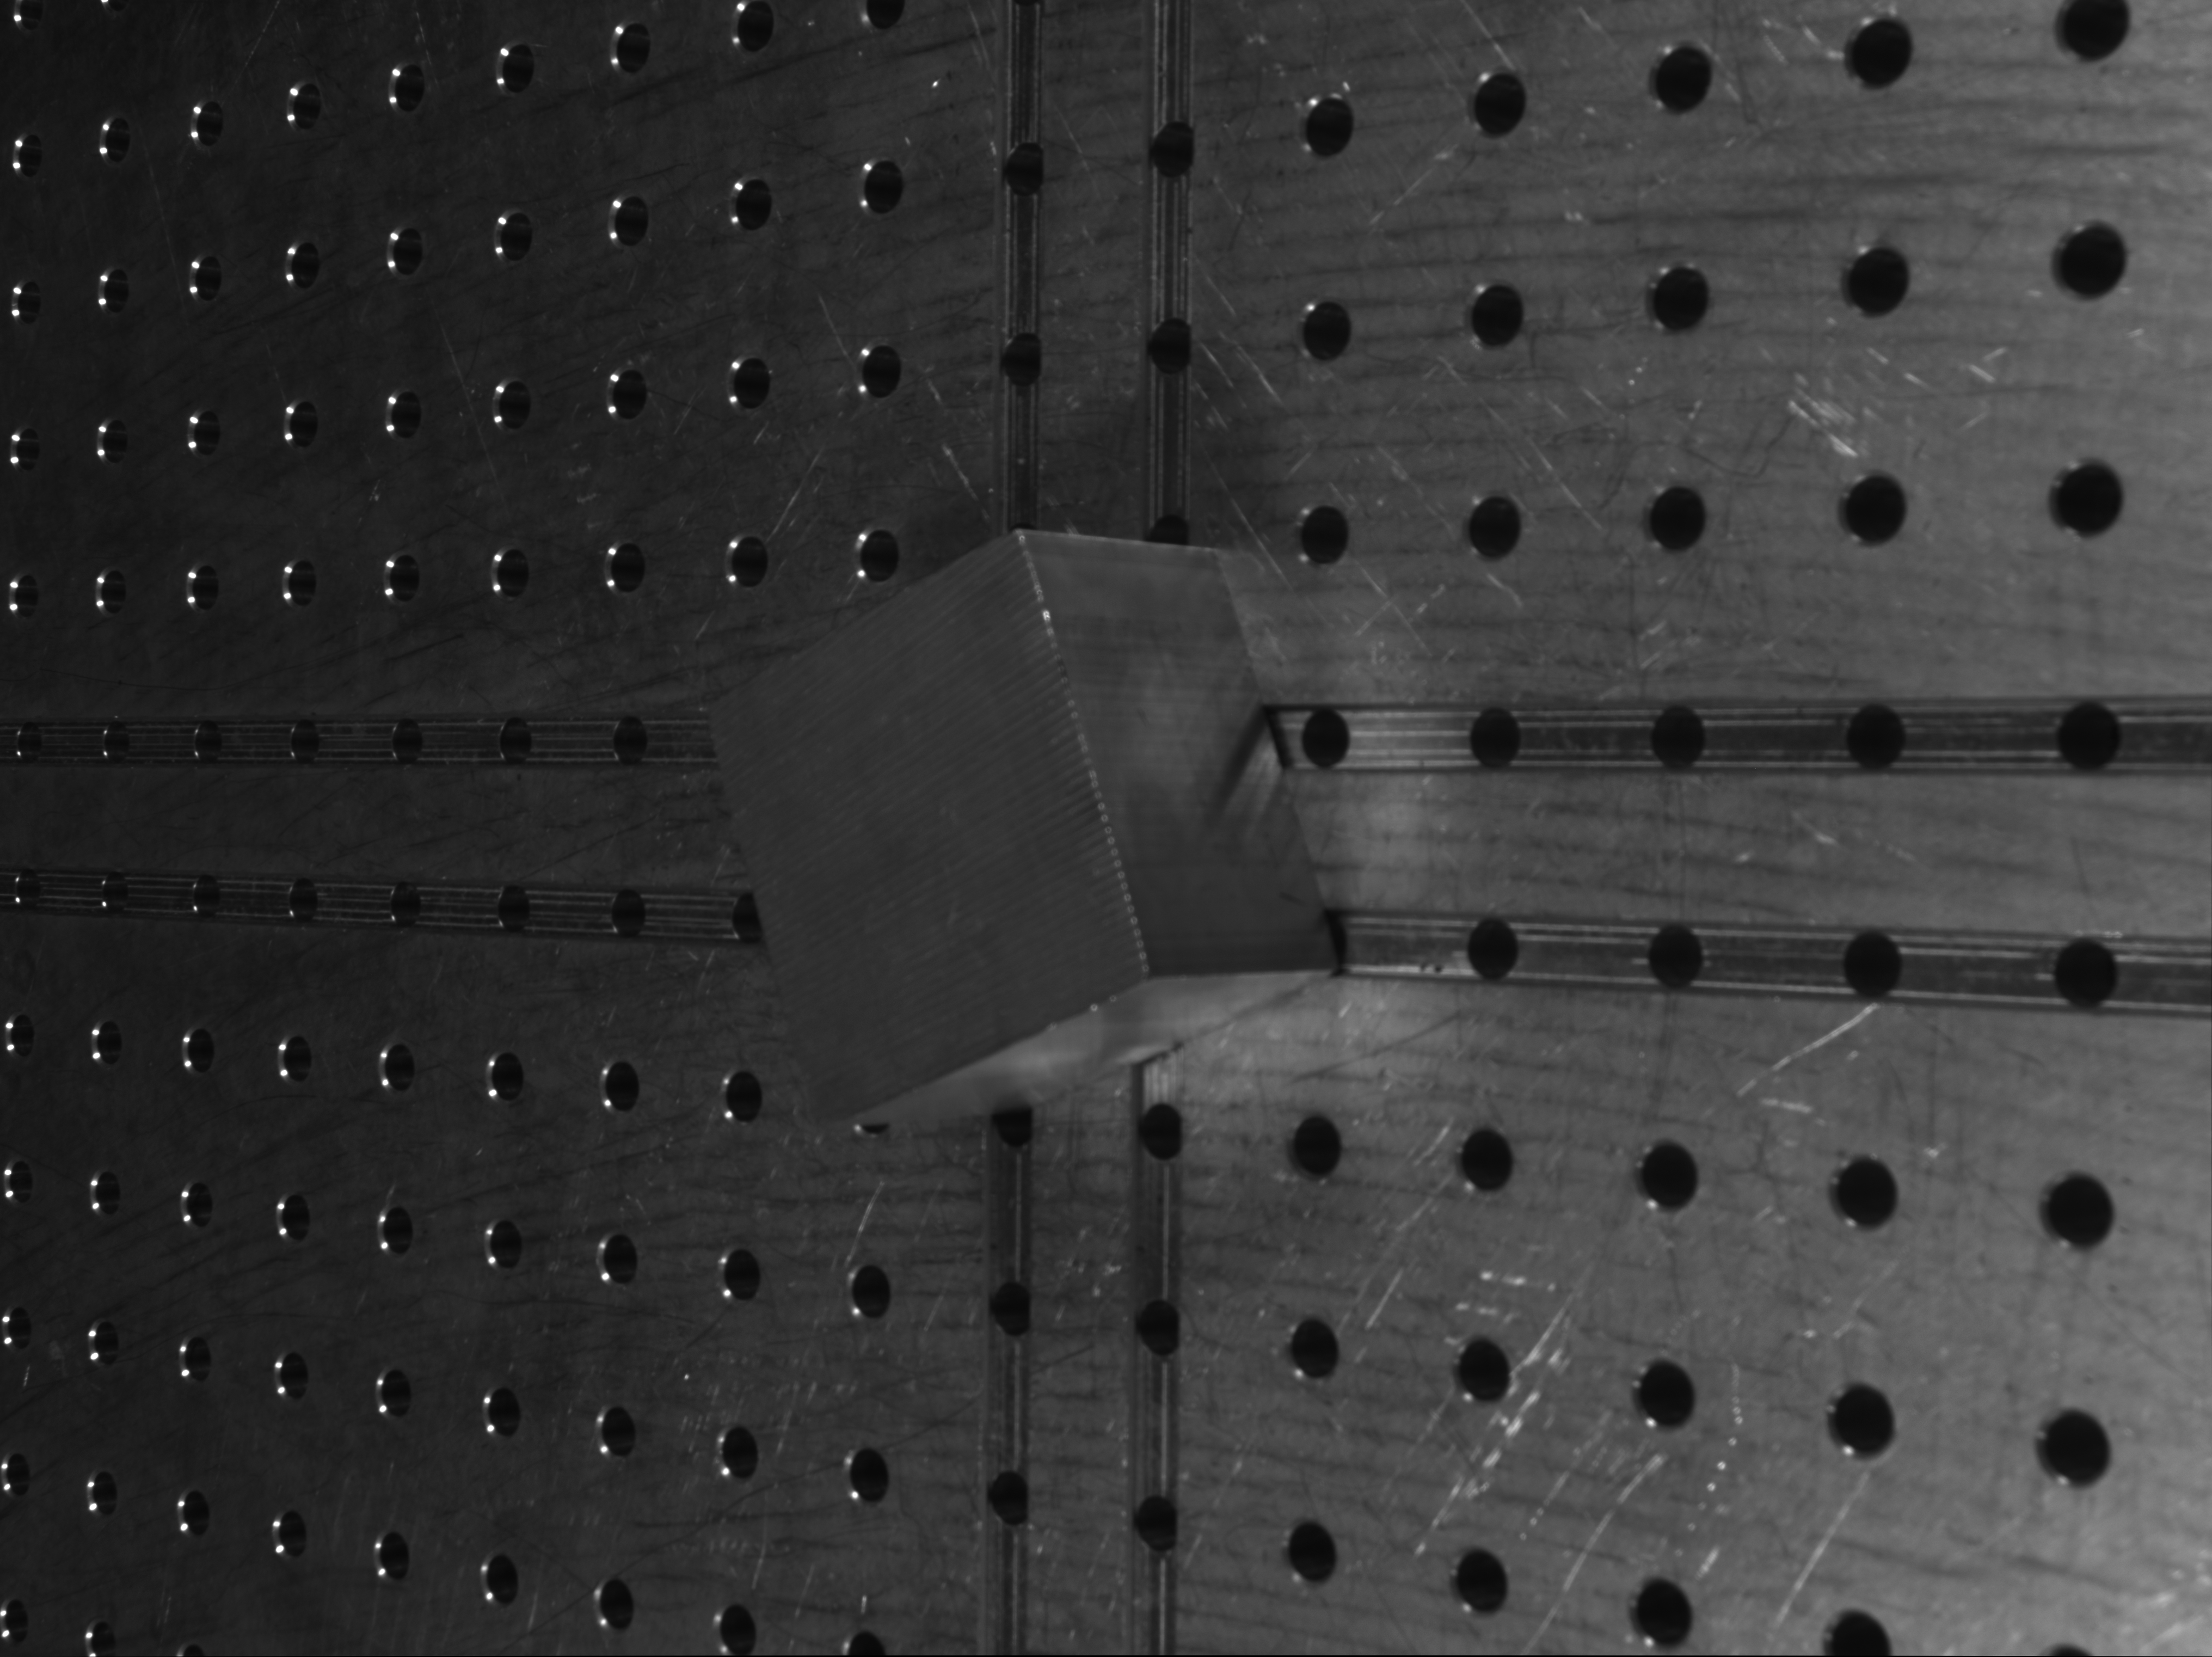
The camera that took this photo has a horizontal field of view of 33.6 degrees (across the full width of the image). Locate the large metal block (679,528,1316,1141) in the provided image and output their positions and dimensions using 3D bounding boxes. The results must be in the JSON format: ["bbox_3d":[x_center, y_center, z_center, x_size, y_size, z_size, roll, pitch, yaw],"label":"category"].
[{"bbox_3d":[-0.020,0.002,0.636,0.080,0.050,0.080,-26,74,36],"label":"large metal block"}]
